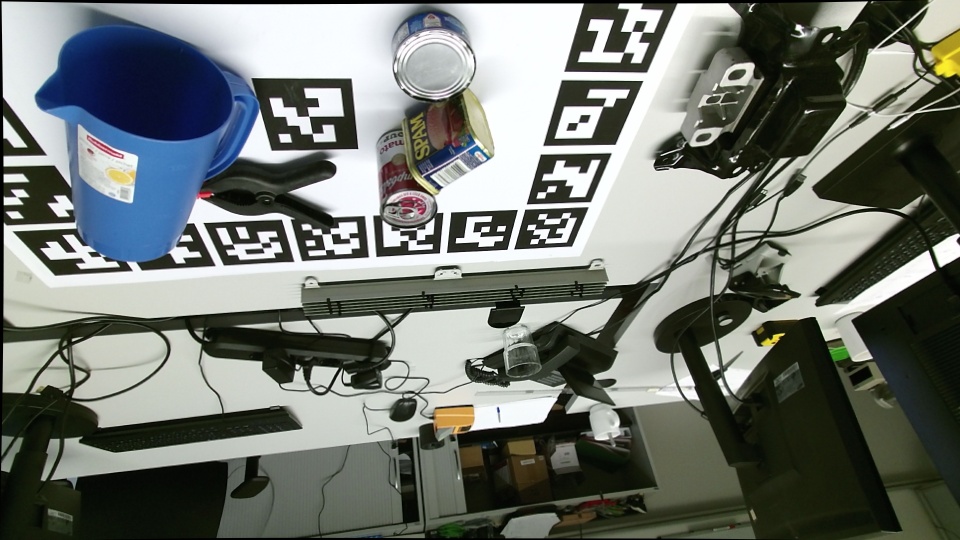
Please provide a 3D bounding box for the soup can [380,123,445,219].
[{"bbox_3d":[-0.085,-0.122,0.657,0.068,0.101,0.068,-10,144,-7],"label":"soup can"}]

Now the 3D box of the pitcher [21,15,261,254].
[{"bbox_3d":[-0.341,-0.121,0.554,0.189,0.133,0.243,-12,159,-40],"label":"pitcher"}]

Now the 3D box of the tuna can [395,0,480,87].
[{"bbox_3d":[-0.045,-0.238,0.560,0.086,0.033,0.086,-8,143,-6],"label":"tuna can"}]

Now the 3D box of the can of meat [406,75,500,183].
[{"bbox_3d":[-0.030,-0.162,0.608,0.084,0.101,0.058,-28,141,16],"label":"can of meat"}]

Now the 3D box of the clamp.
[{"bbox_3d":[-0.252,-0.111,0.698,0.166,0.036,0.122,0,148,-10],"label":"clamp"}]
